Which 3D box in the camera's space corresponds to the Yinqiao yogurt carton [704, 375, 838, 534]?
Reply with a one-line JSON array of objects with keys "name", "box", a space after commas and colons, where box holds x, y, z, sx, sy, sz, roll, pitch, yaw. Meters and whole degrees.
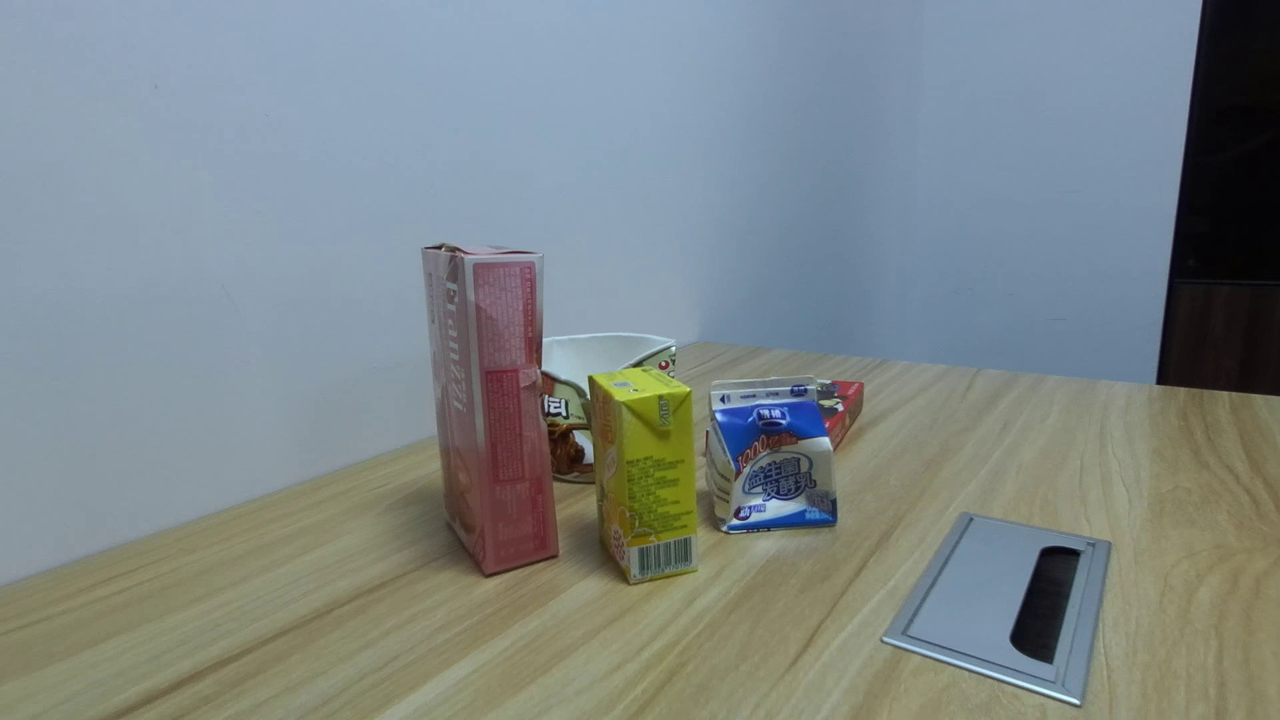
[{"name": "Yinqiao yogurt carton", "box": [0.083, 0.056, 0.462, 0.077, 0.094, 0.071, -5, 18, -3]}]

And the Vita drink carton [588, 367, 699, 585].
[{"name": "Vita drink carton", "box": [0.000, 0.064, 0.411, 0.044, 0.109, 0.066, -7, 13, -20]}]

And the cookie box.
[{"name": "cookie box", "box": [-0.090, 0.024, 0.430, 0.049, 0.187, 0.104, -8, 14, -27]}]
